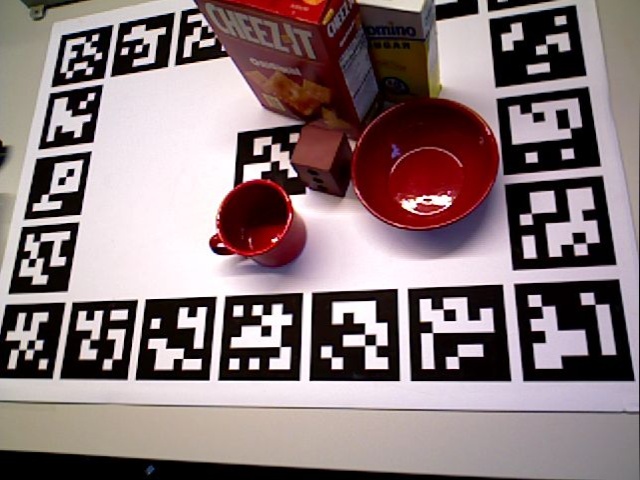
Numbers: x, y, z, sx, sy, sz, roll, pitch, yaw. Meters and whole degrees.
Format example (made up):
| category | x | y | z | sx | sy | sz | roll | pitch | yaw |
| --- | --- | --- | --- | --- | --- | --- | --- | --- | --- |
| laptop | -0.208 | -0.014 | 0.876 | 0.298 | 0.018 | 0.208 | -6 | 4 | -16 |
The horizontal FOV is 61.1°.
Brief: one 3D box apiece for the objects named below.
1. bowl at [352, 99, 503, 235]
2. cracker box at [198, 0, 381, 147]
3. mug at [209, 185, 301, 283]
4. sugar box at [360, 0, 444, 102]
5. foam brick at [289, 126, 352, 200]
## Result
| category | x | y | z | sx | sy | sz | roll | pitch | yaw |
| --- | --- | --- | --- | --- | --- | --- | --- | --- | --- |
| bowl | 0.119 | -0.070 | 0.594 | 0.162 | 0.055 | 0.160 | -6 | 71 | 15 |
| cracker box | -0.029 | -0.208 | 0.611 | 0.164 | 0.215 | 0.071 | 26 | 77 | 22 |
| mug | -0.082 | 0.000 | 0.625 | 0.118 | 0.082 | 0.092 | -13 | 60 | 14 |
| sugar box | 0.083 | -0.222 | 0.601 | 0.093 | 0.177 | 0.045 | 18 | 76 | 21 |
| foam brick | 0.002 | -0.090 | 0.640 | 0.053 | 0.078 | 0.051 | 12 | 73 | 20 |
